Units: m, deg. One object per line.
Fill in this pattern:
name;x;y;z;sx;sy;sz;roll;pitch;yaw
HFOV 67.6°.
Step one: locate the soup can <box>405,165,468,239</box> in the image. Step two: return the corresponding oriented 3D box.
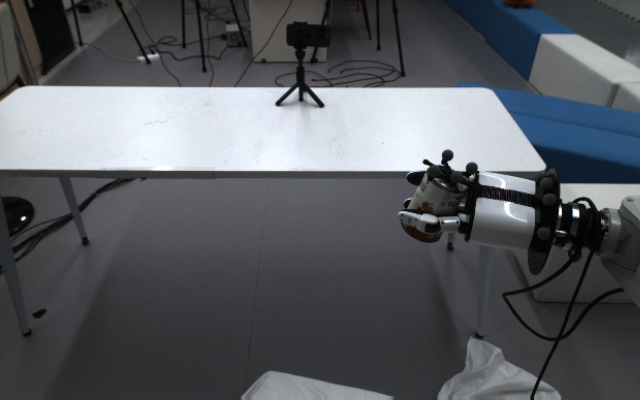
soup can;0.175;0.005;0.738;0.067;0.101;0.067;14;35;-10
